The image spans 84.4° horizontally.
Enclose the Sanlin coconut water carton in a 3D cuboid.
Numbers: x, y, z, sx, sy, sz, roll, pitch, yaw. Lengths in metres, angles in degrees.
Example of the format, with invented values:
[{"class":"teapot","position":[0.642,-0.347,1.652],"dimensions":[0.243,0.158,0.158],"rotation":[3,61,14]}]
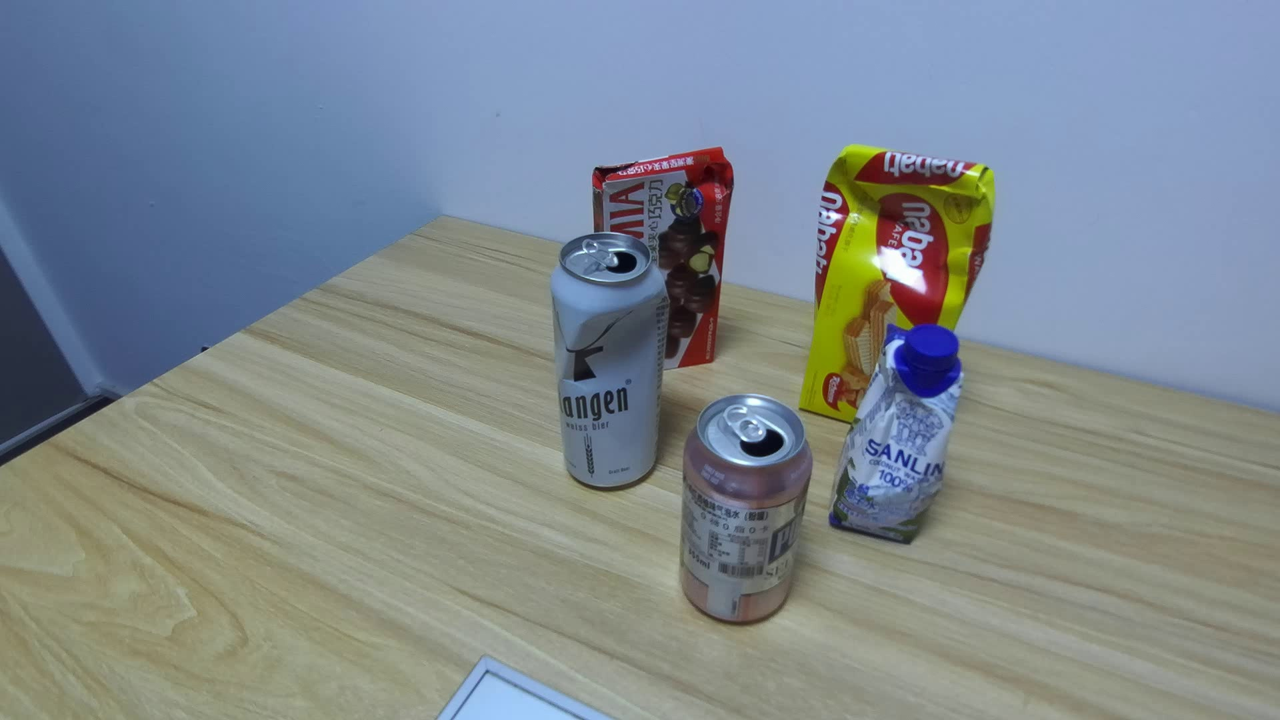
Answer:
[{"class":"Sanlin coconut water carton","position":[0.164,0.040,0.433],"dimensions":[0.056,0.144,0.068],"rotation":[14,30,10]}]

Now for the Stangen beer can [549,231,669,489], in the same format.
[{"class":"Stangen beer can","position":[-0.020,0.005,0.457],"dimensions":[0.070,0.173,0.070],"rotation":[14,39,19]}]

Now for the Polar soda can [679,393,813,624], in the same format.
[{"class":"Polar soda can","position":[0.056,0.082,0.387],"dimensions":[0.067,0.126,0.067],"rotation":[-1,36,1]}]

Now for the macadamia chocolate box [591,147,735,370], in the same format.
[{"class":"macadamia chocolate box","position":[0.018,-0.070,0.548],"dimensions":[0.103,0.187,0.027],"rotation":[-7,41,-8]}]

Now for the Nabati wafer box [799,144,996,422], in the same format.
[{"class":"Nabati wafer box","position":[0.171,-0.042,0.493],"dimensions":[0.113,0.205,0.043],"rotation":[15,37,22]}]
